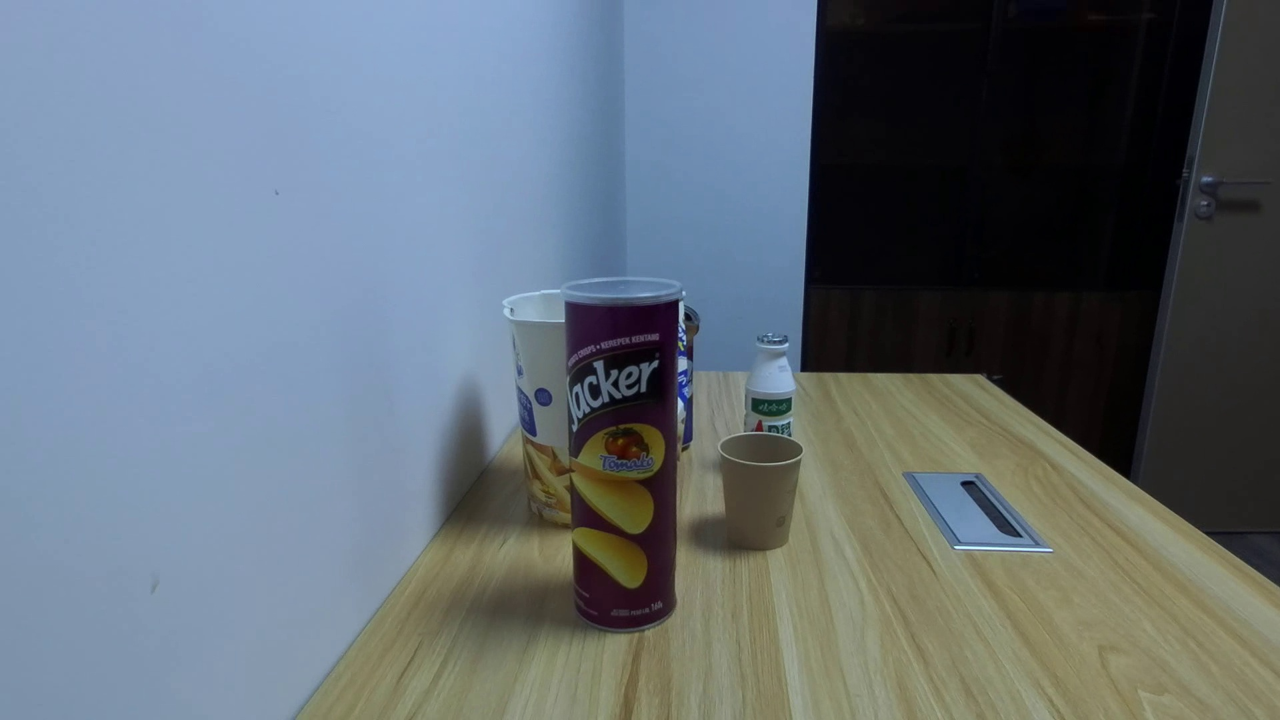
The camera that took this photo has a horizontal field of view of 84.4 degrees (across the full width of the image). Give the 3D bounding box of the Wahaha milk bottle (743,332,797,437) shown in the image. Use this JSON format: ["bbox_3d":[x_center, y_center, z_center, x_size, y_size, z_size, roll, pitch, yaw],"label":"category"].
[{"bbox_3d":[0.134,0.047,0.734,0.053,0.147,0.053,0,13,0],"label":"Wahaha milk bottle"}]

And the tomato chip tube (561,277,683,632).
[{"bbox_3d":[-0.010,0.066,0.492,0.078,0.234,0.078,-1,15,1],"label":"tomato chip tube"}]

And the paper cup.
[{"bbox_3d":[0.102,0.114,0.607,0.075,0.082,0.075,0,13,0],"label":"paper cup"}]
